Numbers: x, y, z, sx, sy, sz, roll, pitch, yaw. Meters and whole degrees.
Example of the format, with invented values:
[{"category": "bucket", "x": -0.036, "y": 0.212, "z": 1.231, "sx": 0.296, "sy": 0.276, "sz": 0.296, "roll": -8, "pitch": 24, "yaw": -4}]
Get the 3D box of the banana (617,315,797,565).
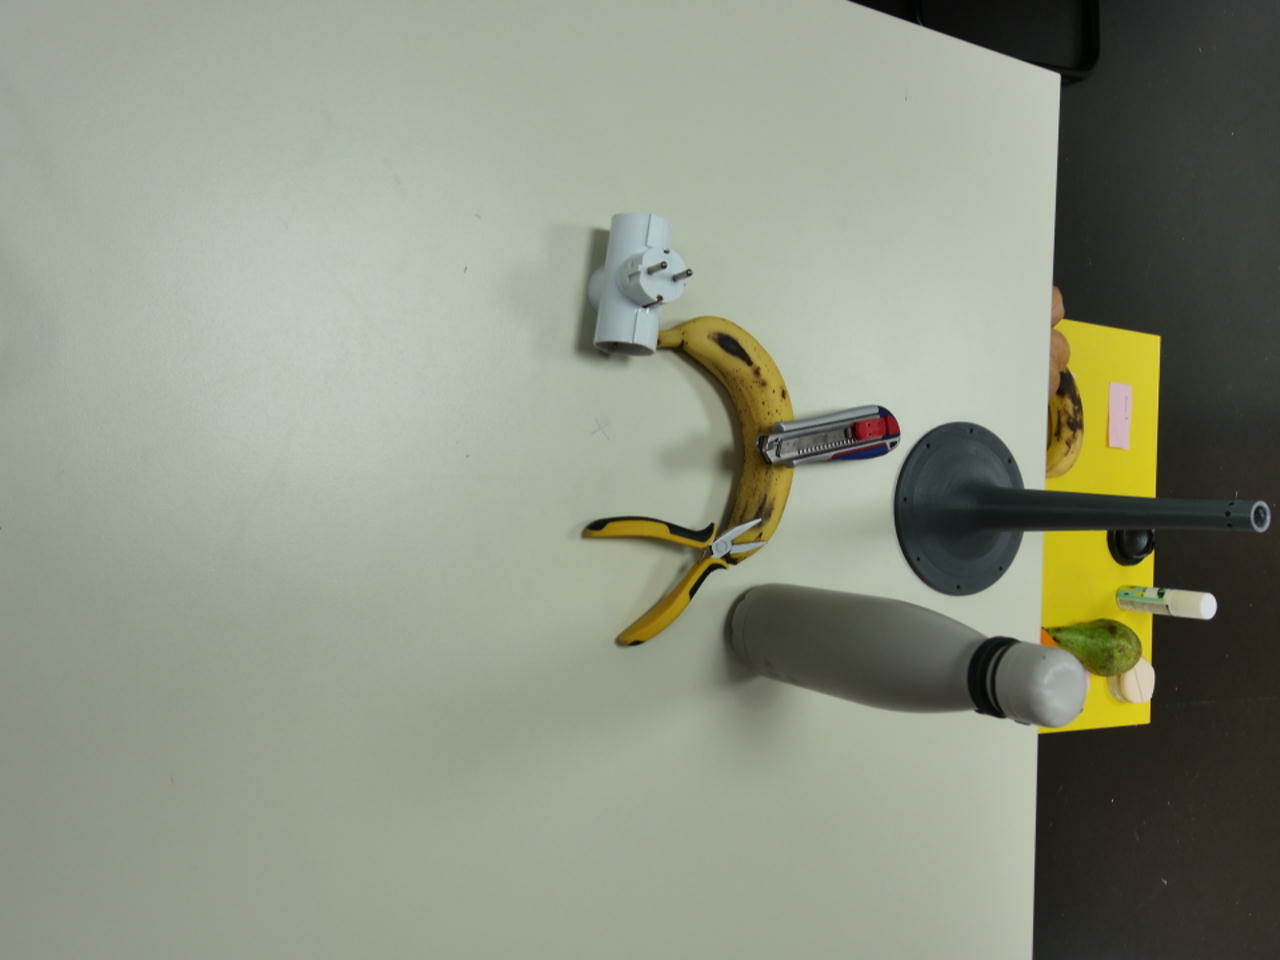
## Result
[{"category": "banana", "x": 0.067, "y": -0.040, "z": 0.735, "sx": 0.097, "sy": 0.038, "sz": 0.186, "roll": -27, "pitch": 103, "yaw": -25}]
